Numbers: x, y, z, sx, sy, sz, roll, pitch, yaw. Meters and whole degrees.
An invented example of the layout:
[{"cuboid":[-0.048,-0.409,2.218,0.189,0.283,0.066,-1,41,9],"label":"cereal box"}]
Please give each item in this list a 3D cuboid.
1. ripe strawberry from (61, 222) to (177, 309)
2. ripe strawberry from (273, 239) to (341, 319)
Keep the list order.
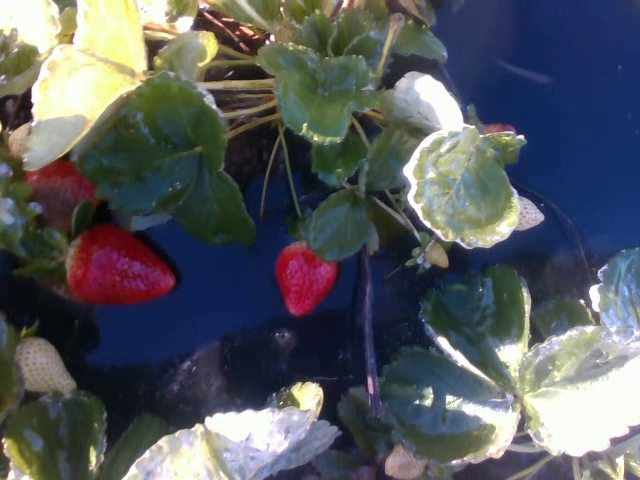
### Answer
[{"cuboid":[-0.100,0.020,0.322,0.056,0.044,0.040,23,8,-20],"label":"ripe strawberry"},{"cuboid":[-0.007,0.022,0.333,0.039,0.047,0.040,11,1,-18],"label":"ripe strawberry"}]
